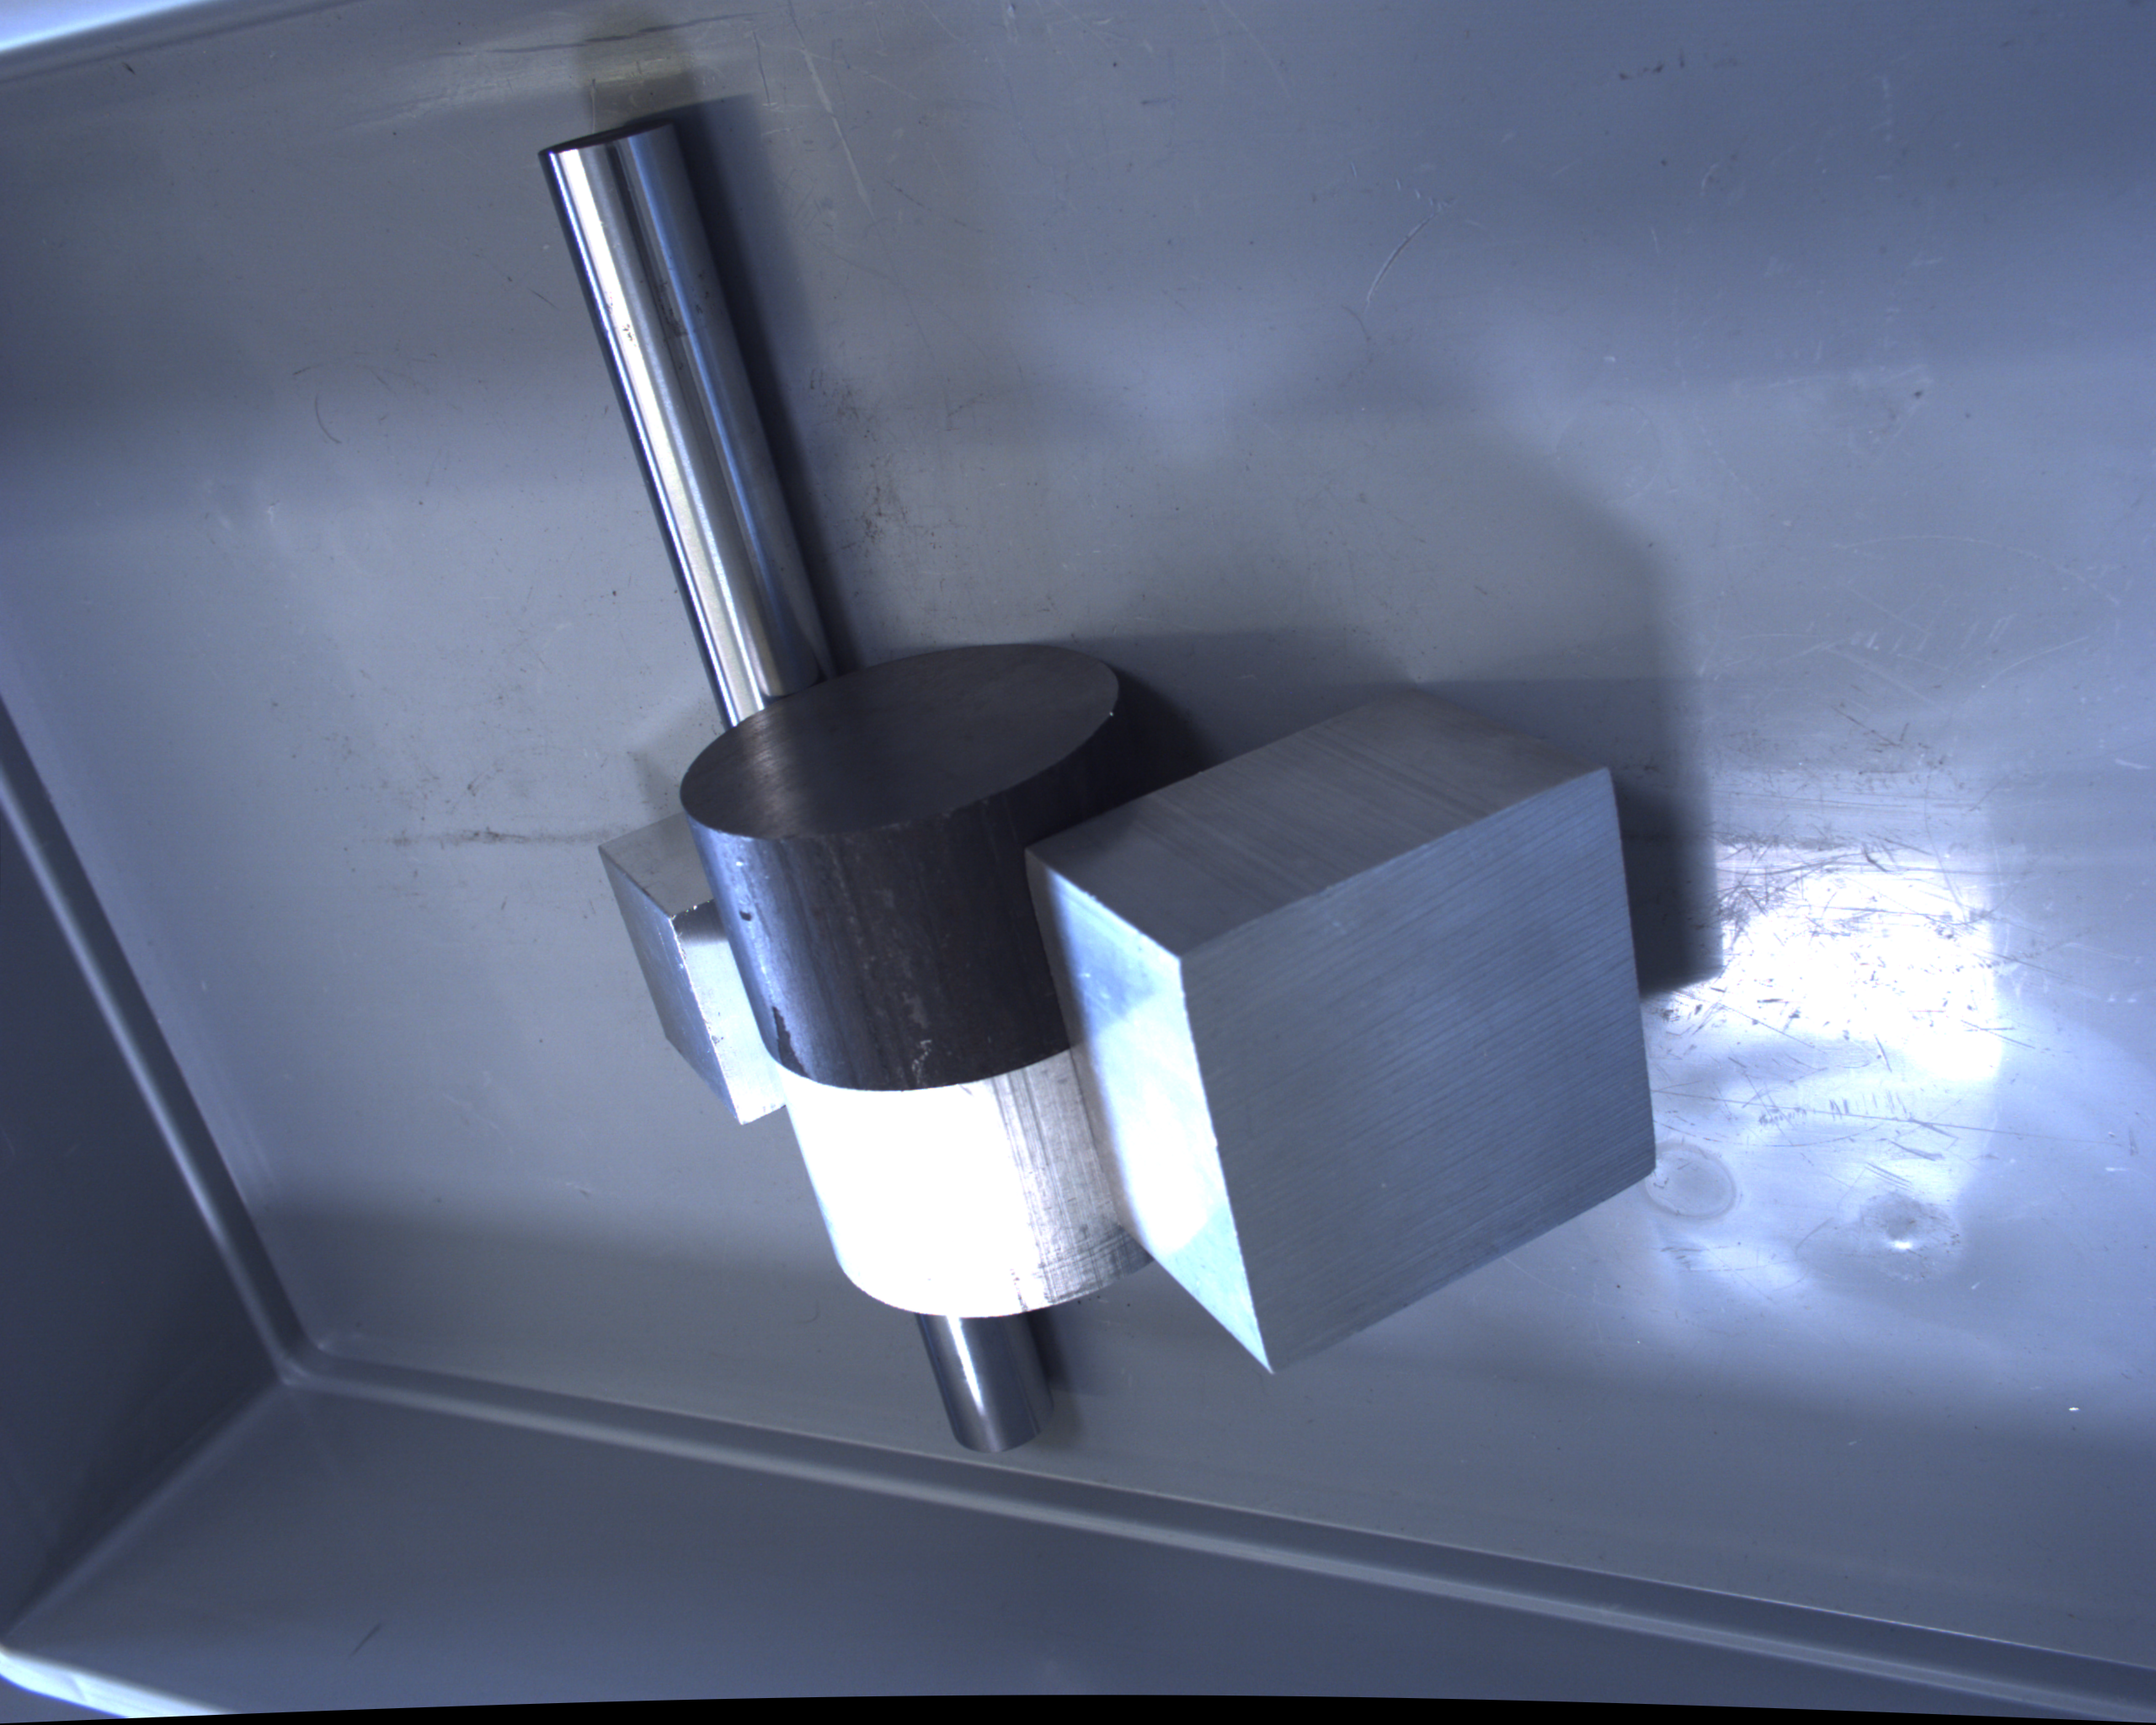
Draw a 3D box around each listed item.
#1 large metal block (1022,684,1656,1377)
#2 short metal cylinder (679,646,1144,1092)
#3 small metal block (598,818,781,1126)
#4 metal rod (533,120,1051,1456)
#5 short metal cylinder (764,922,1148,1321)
[{"bbox_3d":[0.046,0.026,0.353,0.050,0.081,0.080,35,143,57],"label":"large metal block"},{"bbox_3d":[-0.027,-0.001,0.384,0.080,0.080,0.050,1,119,28],"label":"short metal cylinder"},{"bbox_3d":[-0.075,0.021,0.444,0.050,0.025,0.050,29,138,56],"label":"small metal block"},{"bbox_3d":[-0.052,0.002,0.434,0.025,0.025,0.298,0,119,28],"label":"metal rod"},{"bbox_3d":[-0.015,0.043,0.405,0.080,0.080,0.050,1,119,28],"label":"short metal cylinder"}]
